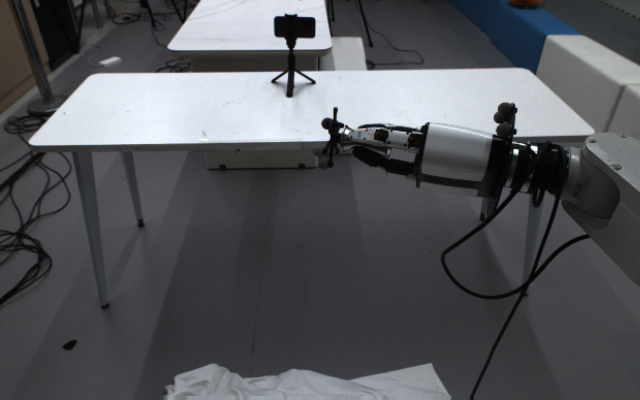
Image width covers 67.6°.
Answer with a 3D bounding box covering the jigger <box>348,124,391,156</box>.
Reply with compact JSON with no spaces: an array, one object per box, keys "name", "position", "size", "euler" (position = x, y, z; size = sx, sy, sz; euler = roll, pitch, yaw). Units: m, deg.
[{"name":"jigger","position":[0.073,-0.090,0.697],"size":[0.071,0.043,0.043],"euler":[7,35,16]}]
